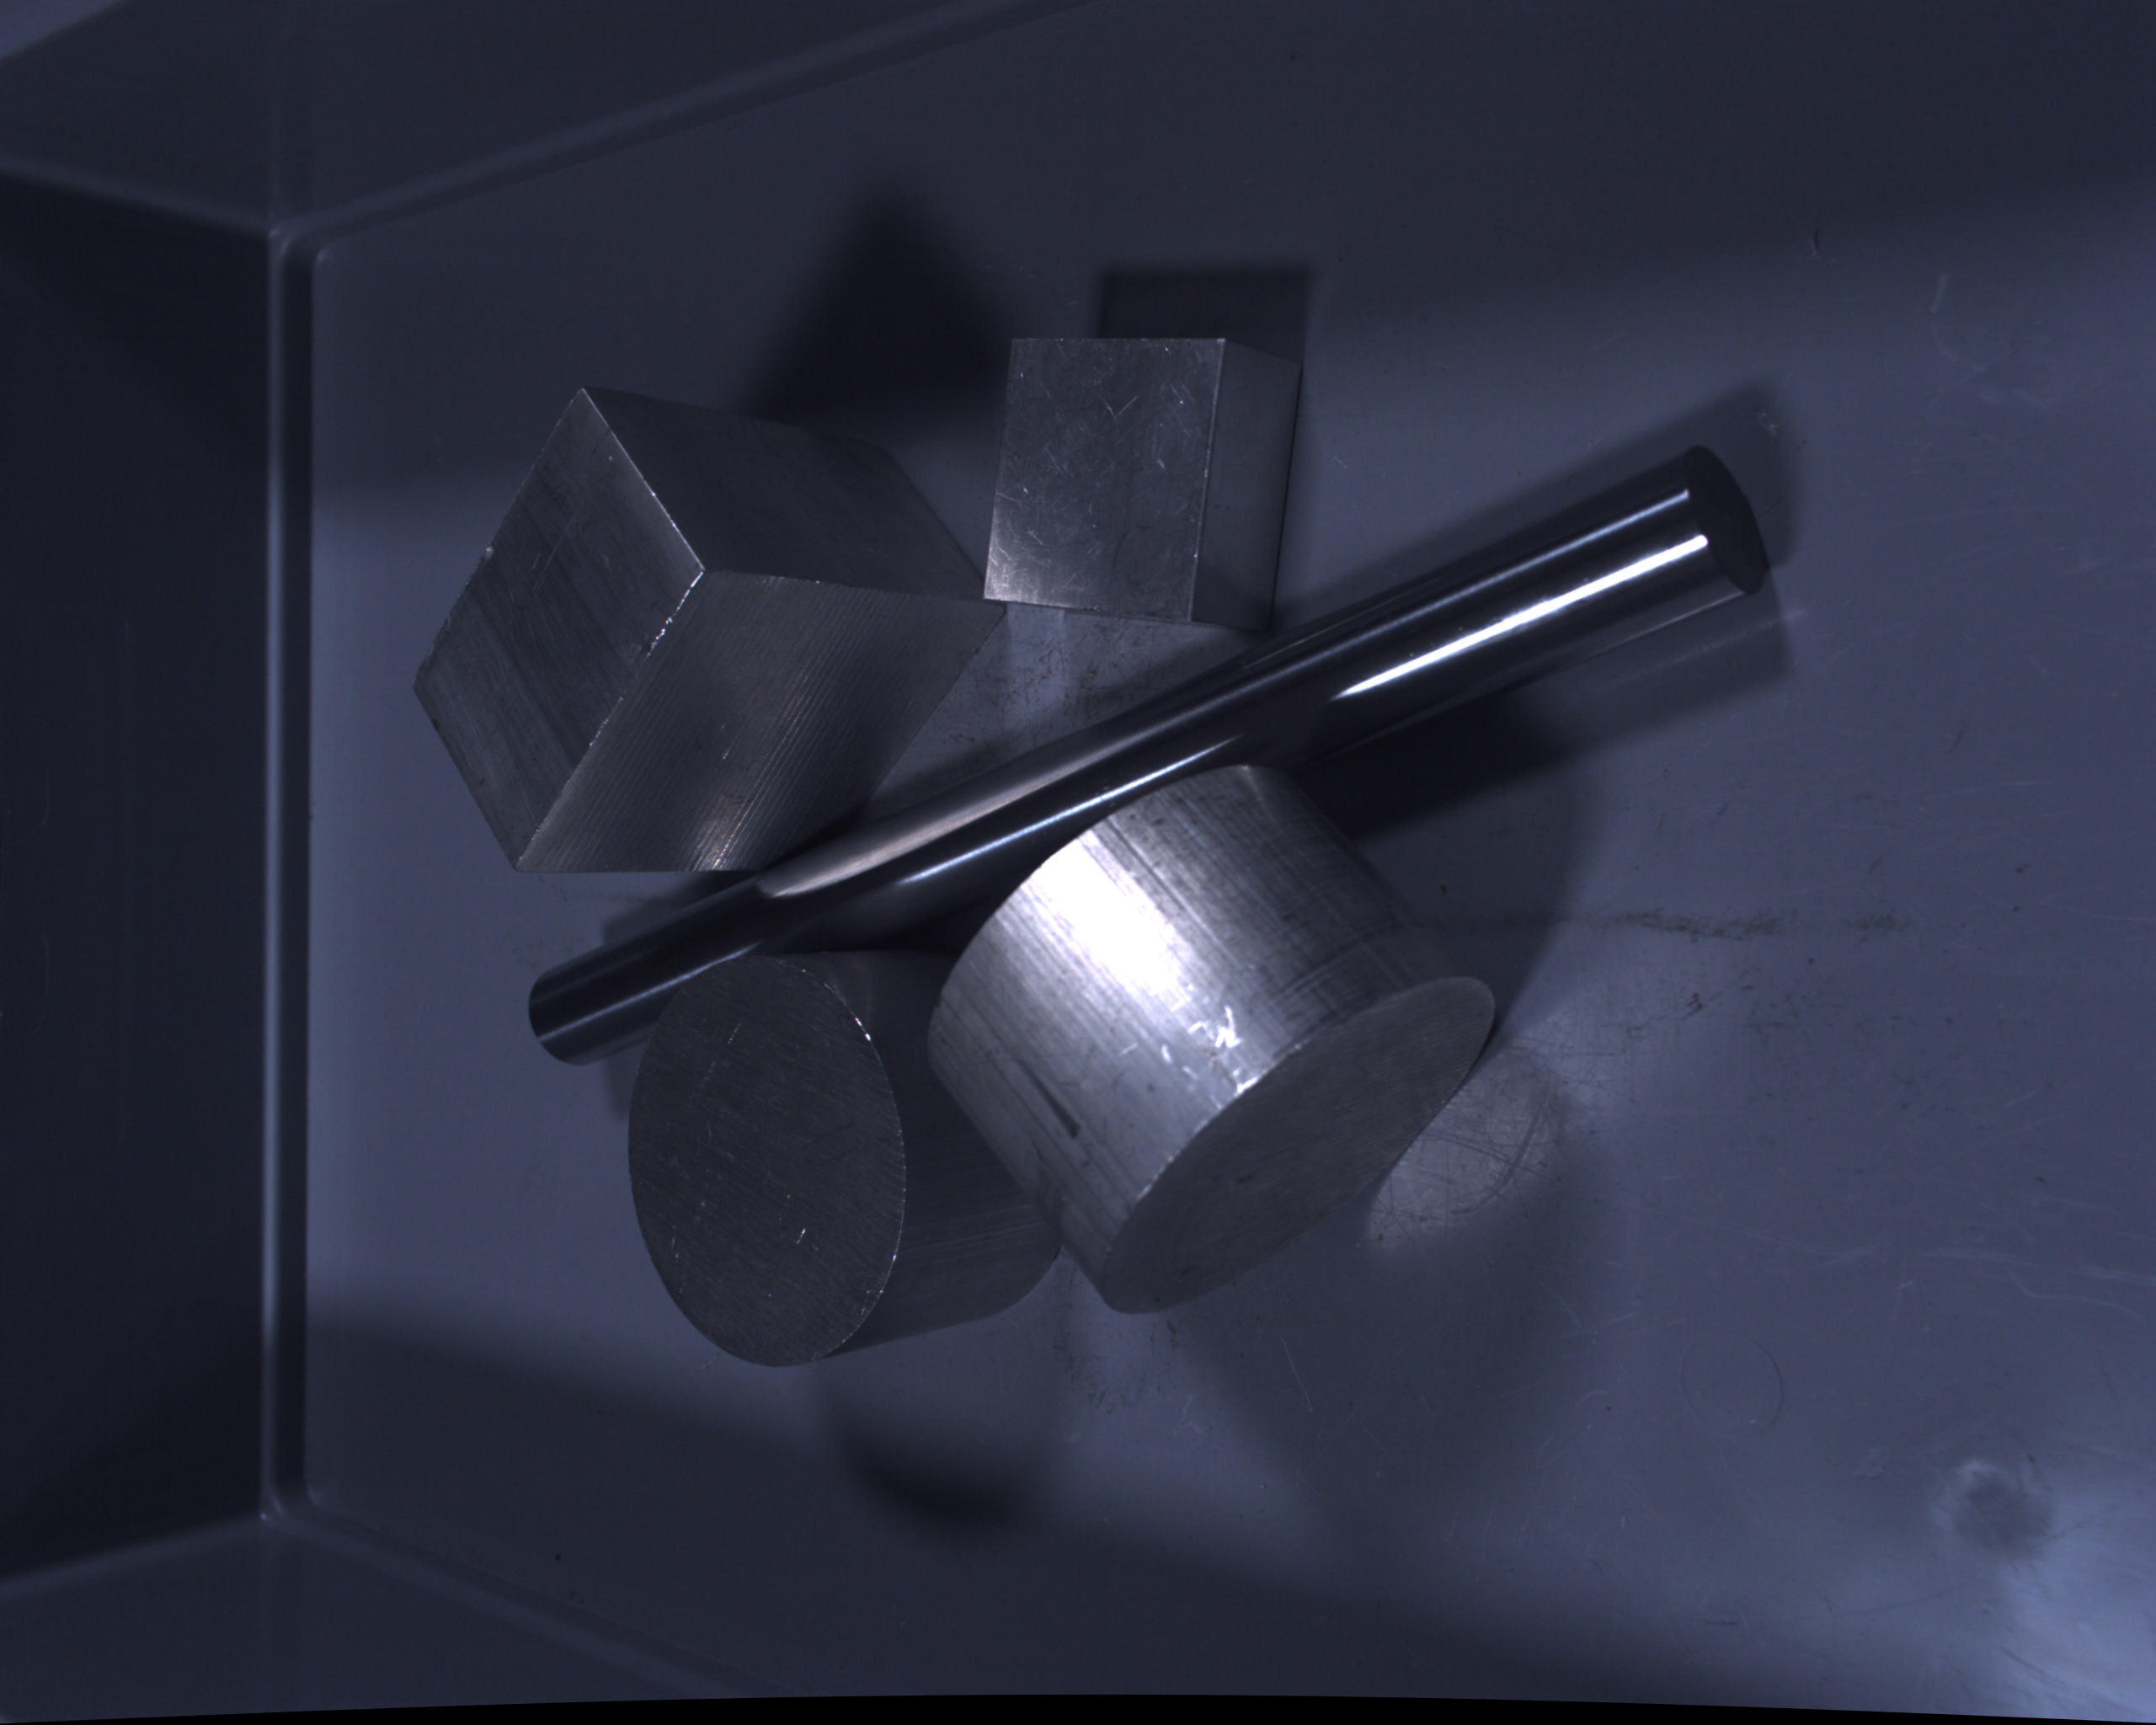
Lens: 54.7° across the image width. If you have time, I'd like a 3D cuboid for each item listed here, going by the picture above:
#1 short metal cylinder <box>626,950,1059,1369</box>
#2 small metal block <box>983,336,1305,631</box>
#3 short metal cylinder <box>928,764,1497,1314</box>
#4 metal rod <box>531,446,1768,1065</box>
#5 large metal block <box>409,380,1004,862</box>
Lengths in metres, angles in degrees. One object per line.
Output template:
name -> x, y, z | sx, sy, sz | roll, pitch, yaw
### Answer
short metal cylinder -> -0.046, 0.058, 0.424 | 0.080, 0.050, 0.079 | 0, 90, 39
small metal block -> 0.012, -0.072, 0.393 | 0.050, 0.025, 0.050 | 11, 97, 39
short metal cylinder -> 0.022, 0.030, 0.349 | 0.050, 0.081, 0.080 | 50, 119, 28
metal rod -> -0.010, -0.008, 0.412 | 0.299, 0.025, 0.025 | -22, 76, 37
large metal block -> -0.076, -0.046, 0.430 | 0.080, 0.081, 0.050 | -51, 61, 28
